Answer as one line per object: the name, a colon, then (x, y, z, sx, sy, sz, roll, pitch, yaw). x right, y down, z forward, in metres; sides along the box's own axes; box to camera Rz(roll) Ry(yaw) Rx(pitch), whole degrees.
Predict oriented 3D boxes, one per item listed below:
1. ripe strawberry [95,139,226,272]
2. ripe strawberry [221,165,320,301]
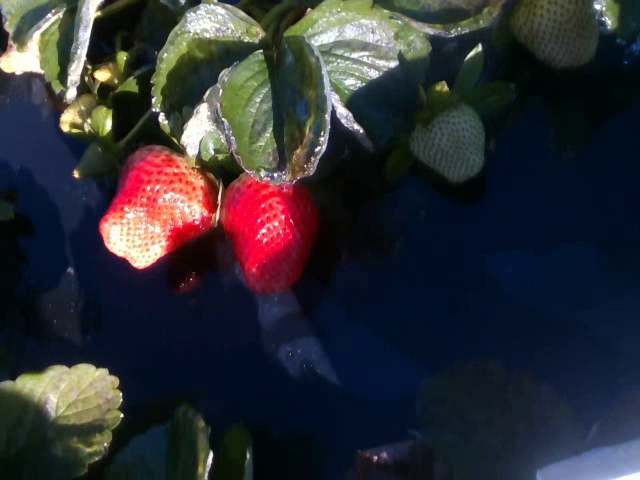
ripe strawberry: (-0.075, -0.011, 0.324, 0.052, 0.070, 0.040, 28, -3, 4)
ripe strawberry: (-0.026, -0.006, 0.304, 0.043, 0.059, 0.040, -20, -10, 11)
